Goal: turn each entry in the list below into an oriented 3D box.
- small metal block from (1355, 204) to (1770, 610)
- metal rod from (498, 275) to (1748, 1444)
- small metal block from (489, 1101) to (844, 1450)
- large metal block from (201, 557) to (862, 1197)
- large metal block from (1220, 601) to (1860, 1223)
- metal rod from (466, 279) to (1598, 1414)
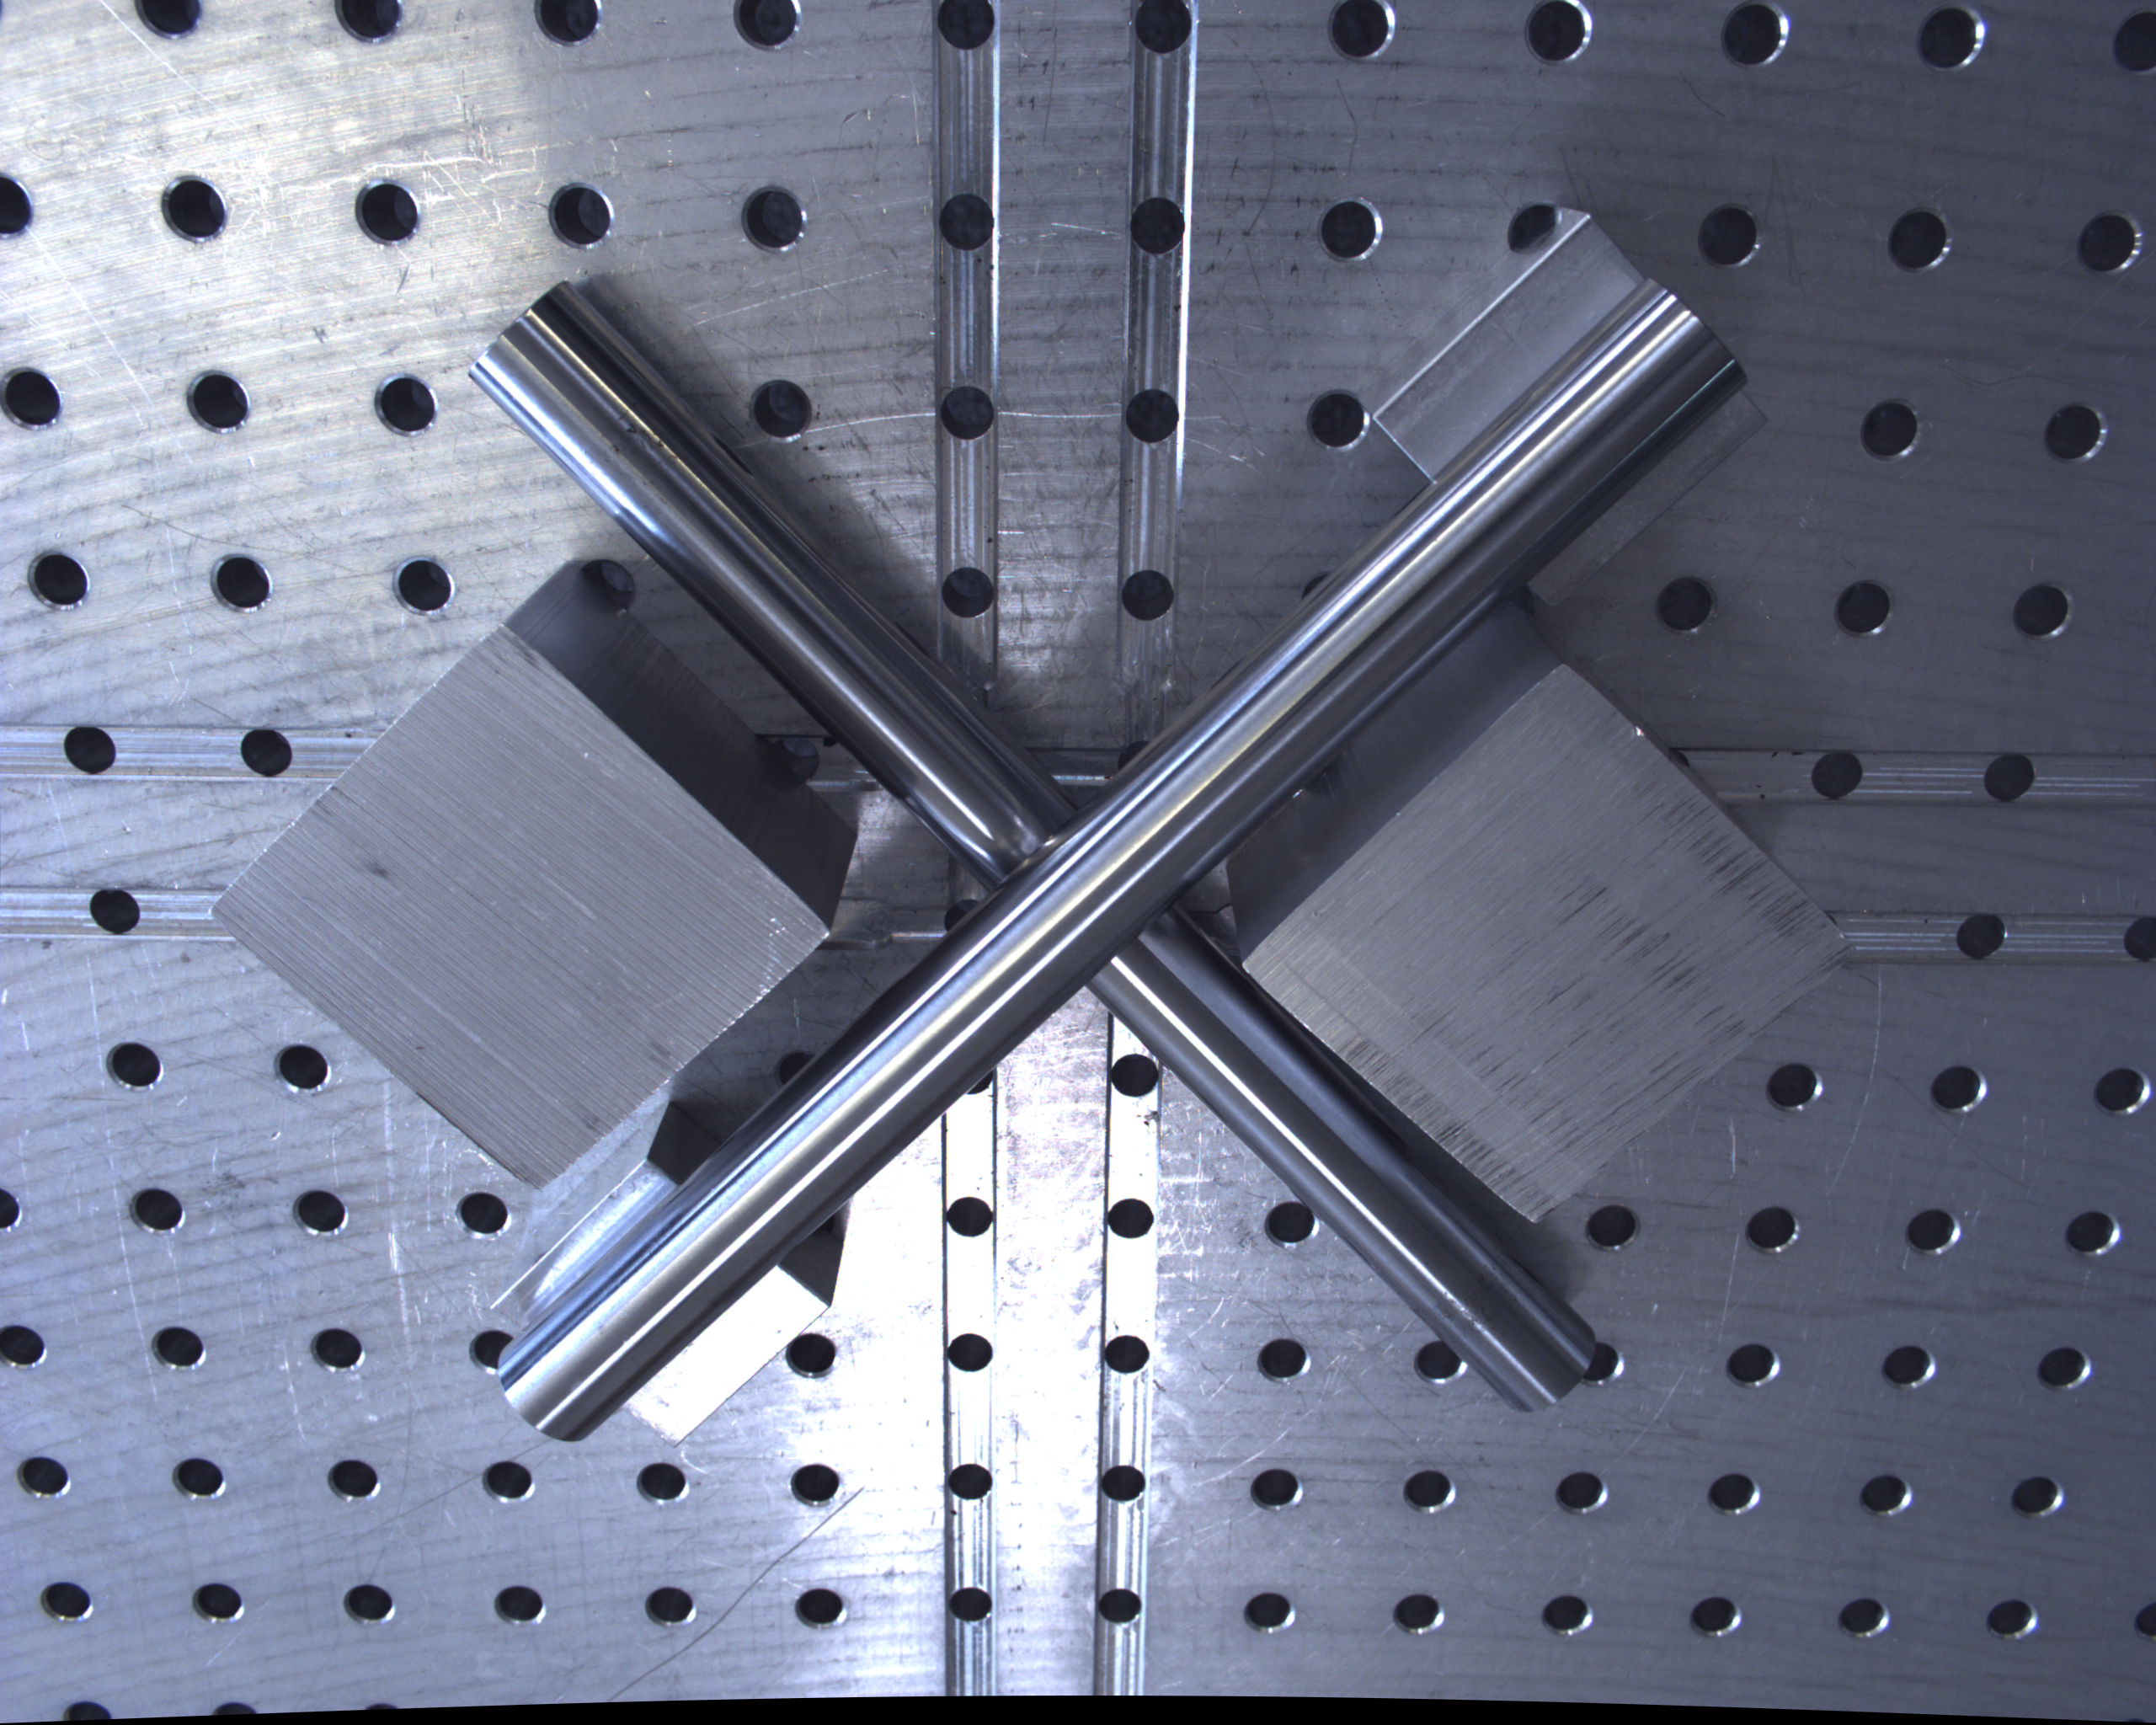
[{"bbox_3d":[0.088,-0.084,0.384,0.050,0.025,0.050,-42,105,14],"label":"small metal block"},{"bbox_3d":[-0.002,0.009,0.389,0.299,0.025,0.025,-43,105,14],"label":"metal rod"},{"bbox_3d":[-0.087,0.088,0.445,0.050,0.025,0.050,43,104,-14],"label":"small metal block"},{"bbox_3d":[-0.101,0.002,0.400,0.080,0.050,0.080,-41,105,13],"label":"large metal block"},{"bbox_3d":[0.086,0.008,0.404,0.080,0.050,0.080,41,105,-14],"label":"large metal block"},{"bbox_3d":[0.001,0.007,0.415,0.025,0.025,0.300,-41,105,13],"label":"metal rod"}]
